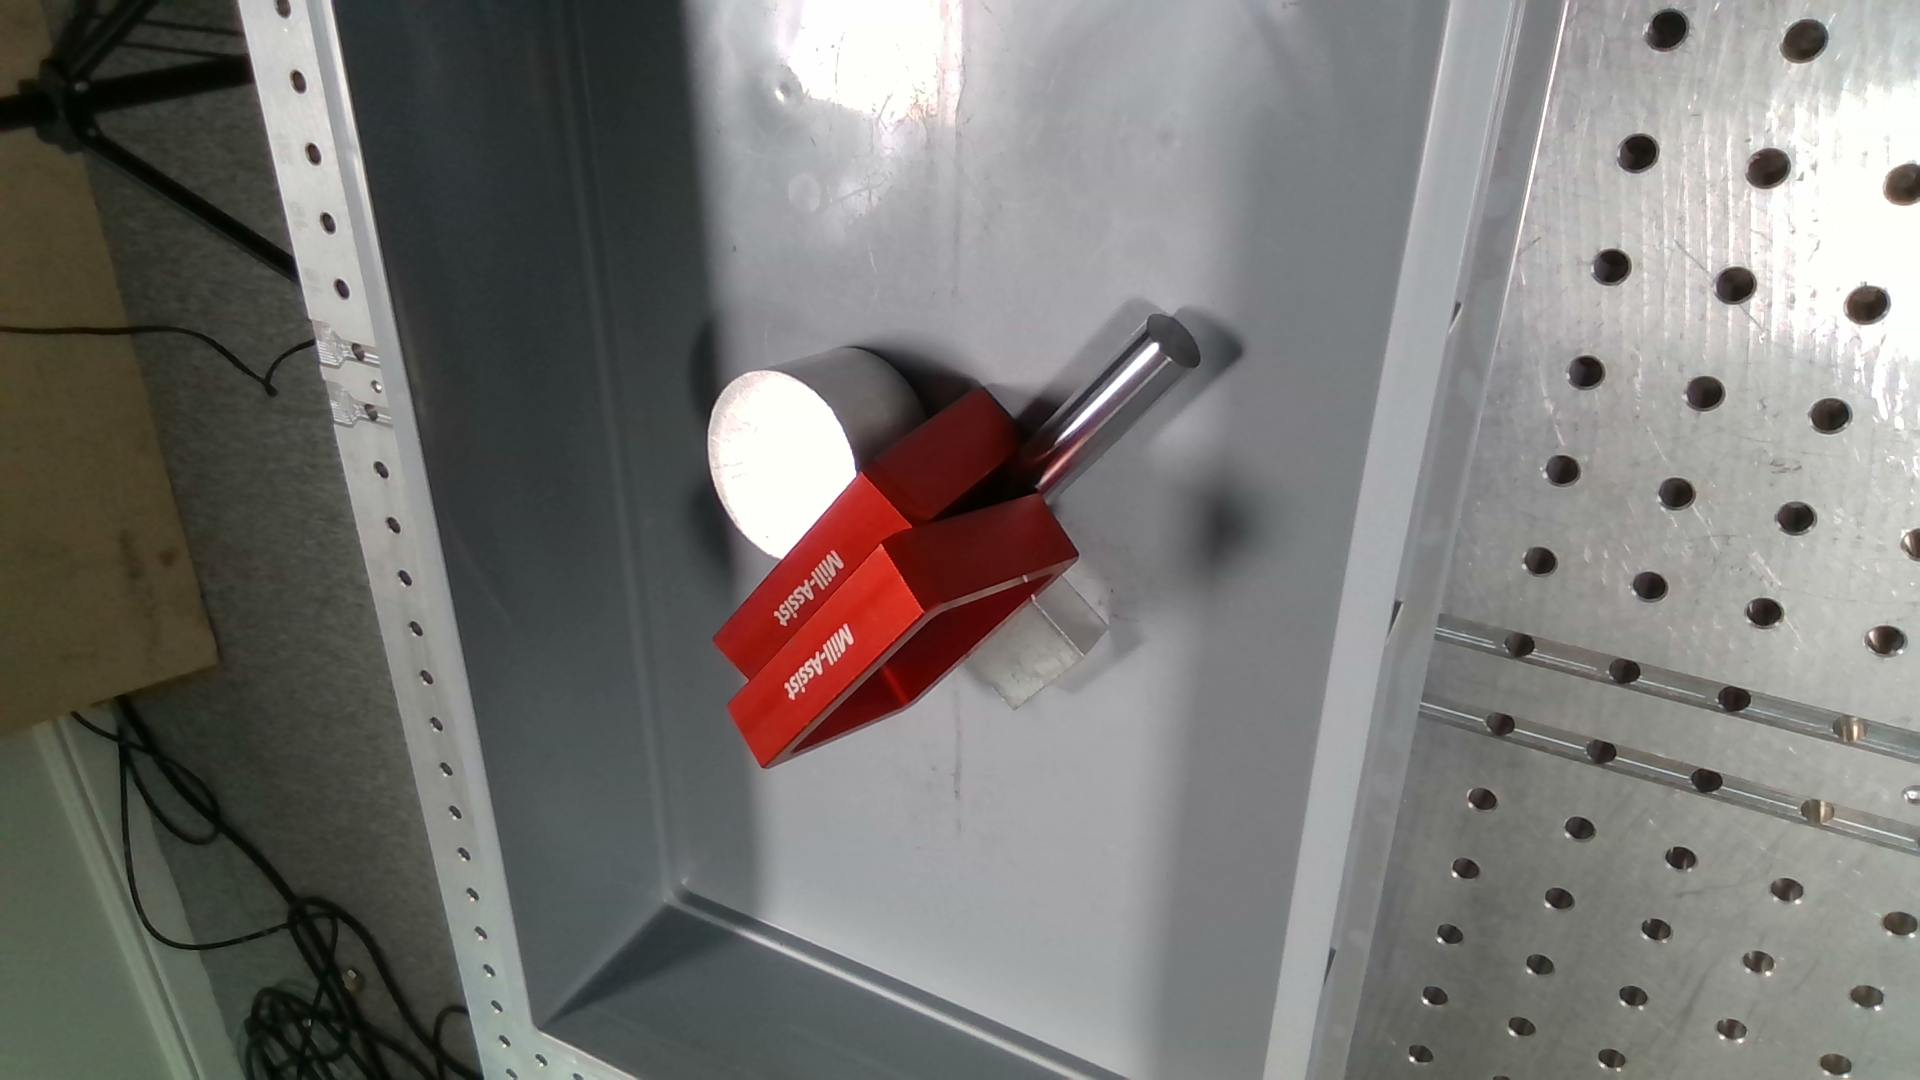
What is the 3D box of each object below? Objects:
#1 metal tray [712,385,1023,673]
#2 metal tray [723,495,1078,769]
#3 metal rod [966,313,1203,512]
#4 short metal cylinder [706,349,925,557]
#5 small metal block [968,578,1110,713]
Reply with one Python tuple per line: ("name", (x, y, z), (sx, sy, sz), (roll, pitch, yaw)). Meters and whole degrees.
("metal tray", (-0.038, 0.000, 0.560), (0.030, 0.090, 0.130), (47, 129, 1))
("metal tray", (-0.024, 0.037, 0.539), (0.130, 0.090, 0.030), (-44, 71, 39))
("metal rod", (-0.005, 0.010, 0.589), (0.025, 0.025, 0.301), (47, 129, 1))
("short metal cylinder", (-0.058, -0.036, 0.571), (0.080, 0.050, 0.080), (15, 116, 32))
("small metal block", (0.026, 0.037, 0.583), (0.050, 0.025, 0.050), (48, 129, 0))
